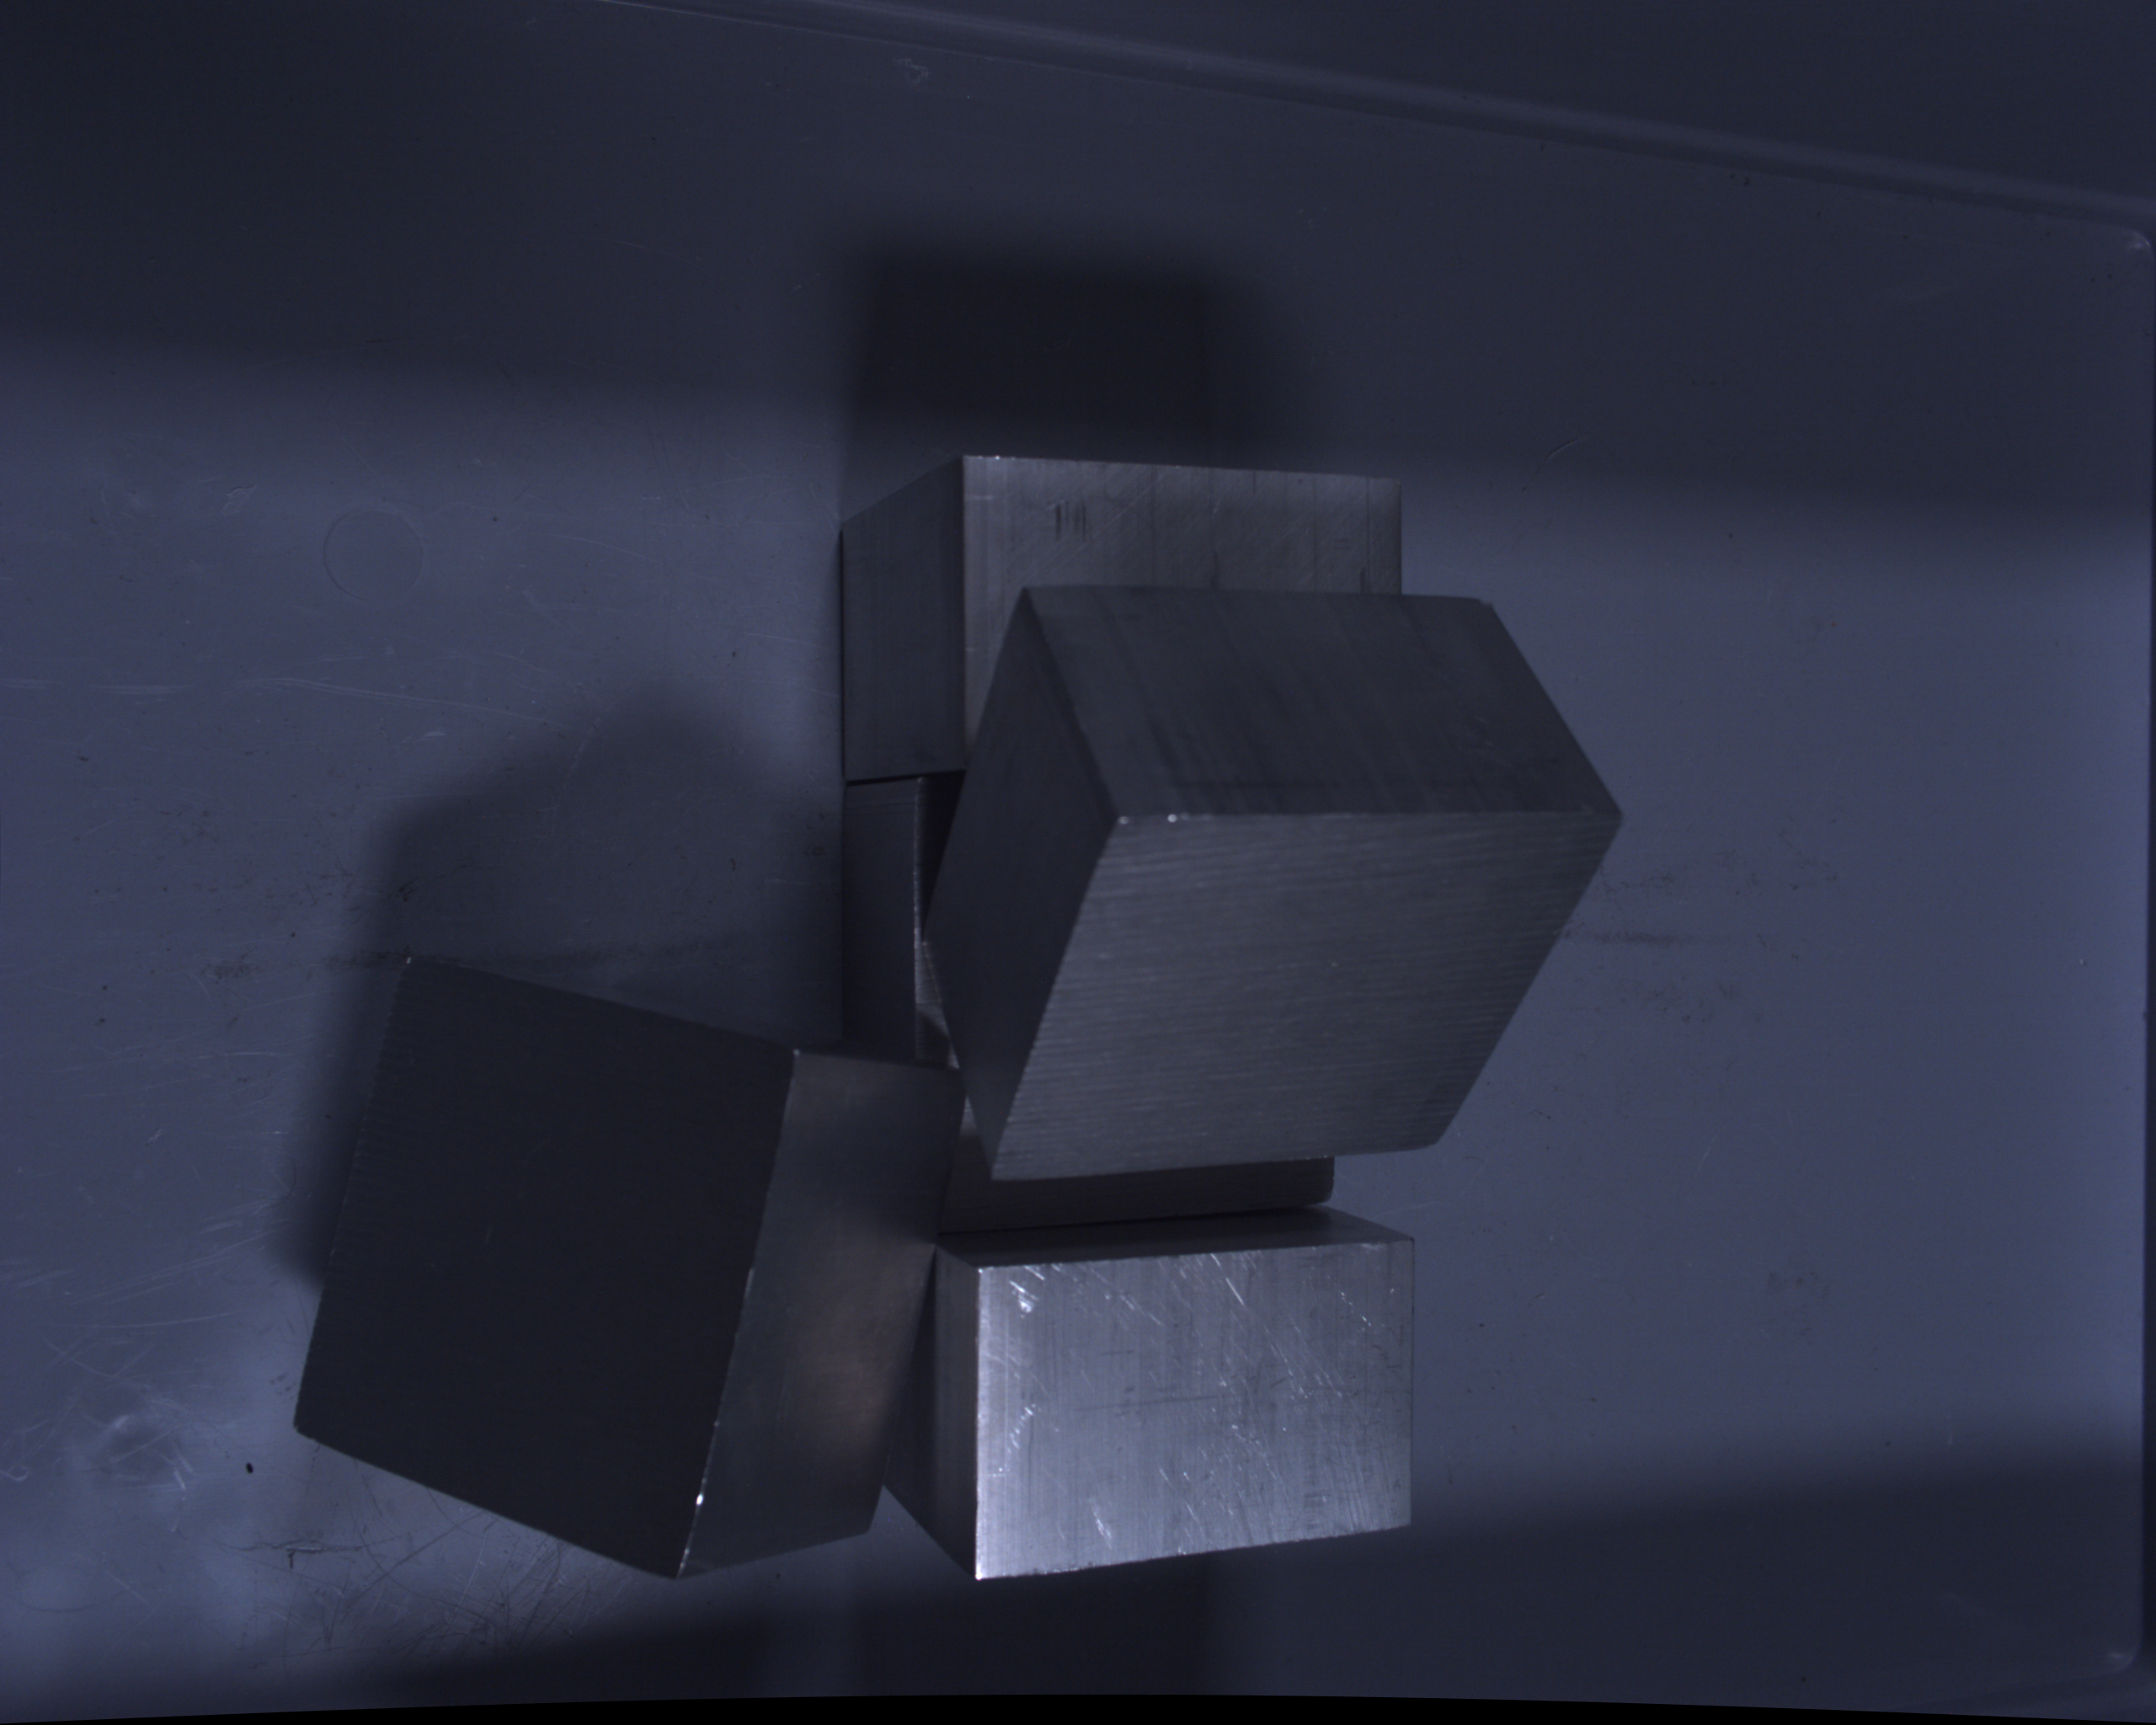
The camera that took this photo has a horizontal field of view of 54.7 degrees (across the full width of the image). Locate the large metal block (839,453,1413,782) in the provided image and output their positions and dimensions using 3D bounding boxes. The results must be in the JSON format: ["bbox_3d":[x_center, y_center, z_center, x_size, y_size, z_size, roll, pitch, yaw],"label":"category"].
[{"bbox_3d":[0.006,-0.041,0.382,0.081,0.080,0.050,-1,91,-20],"label":"large metal block"}]

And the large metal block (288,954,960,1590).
[{"bbox_3d":[-0.073,0.064,0.345,0.050,0.080,0.080,20,82,-63],"label":"large metal block"}]

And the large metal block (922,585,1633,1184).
[{"bbox_3d":[0.027,0.004,0.331,0.081,0.079,0.050,-1,46,-21],"label":"large metal block"}]

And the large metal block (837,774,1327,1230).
[{"bbox_3d":[0.000,0.024,0.398,0.081,0.050,0.079,-1,90,-20],"label":"large metal block"}]

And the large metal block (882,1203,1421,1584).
[{"bbox_3d":[0.007,0.090,0.383,0.081,0.080,0.050,0,90,-20],"label":"large metal block"}]
